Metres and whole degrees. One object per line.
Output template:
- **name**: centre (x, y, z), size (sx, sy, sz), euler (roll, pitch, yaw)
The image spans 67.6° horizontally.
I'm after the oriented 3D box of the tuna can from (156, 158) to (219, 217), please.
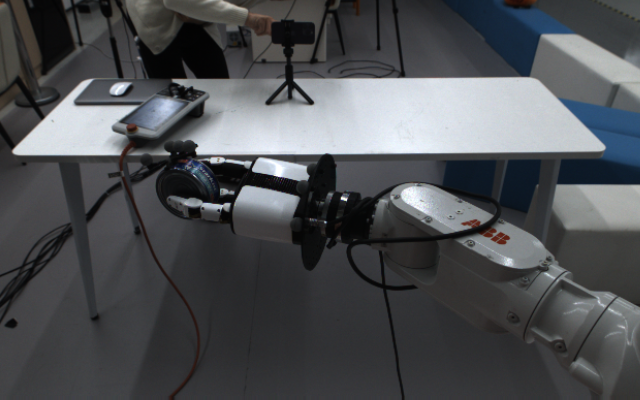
- **tuna can**: centre (-0.187, -0.014, 0.686), size (0.085, 0.085, 0.034), euler (11, 34, 13)
